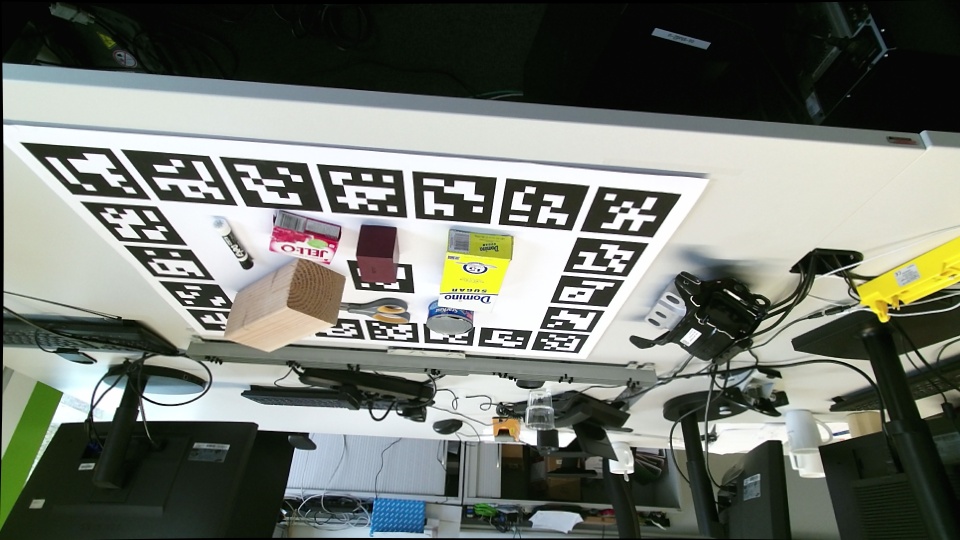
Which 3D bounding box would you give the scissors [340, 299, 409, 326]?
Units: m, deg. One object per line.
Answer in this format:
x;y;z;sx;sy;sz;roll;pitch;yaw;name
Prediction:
-0.230;0.072;0.986;0.204;0.016;0.088;7;147;-12;scissors

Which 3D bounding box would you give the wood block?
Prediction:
-0.341;0.058;0.906;0.206;0.090;0.090;-22;141;34;wood block

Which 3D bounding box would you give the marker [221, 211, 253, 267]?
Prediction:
-0.363;-0.042;0.805;0.020;0.019;0.121;5;145;-5;marker

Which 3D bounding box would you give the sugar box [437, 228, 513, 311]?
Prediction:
-0.012;0.005;0.844;0.093;0.045;0.176;8;147;-8;sugar box

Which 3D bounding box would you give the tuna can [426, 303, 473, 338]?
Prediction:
-0.056;0.091;0.985;0.086;0.033;0.086;1;147;1;tuna can

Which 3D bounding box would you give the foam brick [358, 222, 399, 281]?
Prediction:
-0.148;-0.027;0.785;0.053;0.051;0.078;5;147;-6;foam brick

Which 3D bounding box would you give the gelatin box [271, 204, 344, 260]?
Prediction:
-0.250;-0.052;0.778;0.090;0.030;0.073;15;145;-20;gelatin box
